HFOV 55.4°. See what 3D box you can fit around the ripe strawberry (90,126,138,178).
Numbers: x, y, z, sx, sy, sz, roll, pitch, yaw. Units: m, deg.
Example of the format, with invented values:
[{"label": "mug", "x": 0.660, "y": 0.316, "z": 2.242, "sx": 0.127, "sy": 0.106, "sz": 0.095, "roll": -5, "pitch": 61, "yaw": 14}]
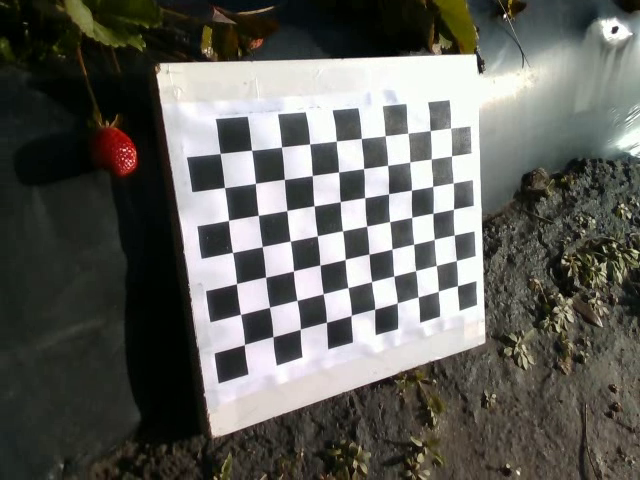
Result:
[{"label": "ripe strawberry", "x": -0.116, "y": -0.047, "z": 0.344, "sx": 0.034, "sy": 0.033, "sz": 0.038, "roll": -13, "pitch": 51, "yaw": -29}]
